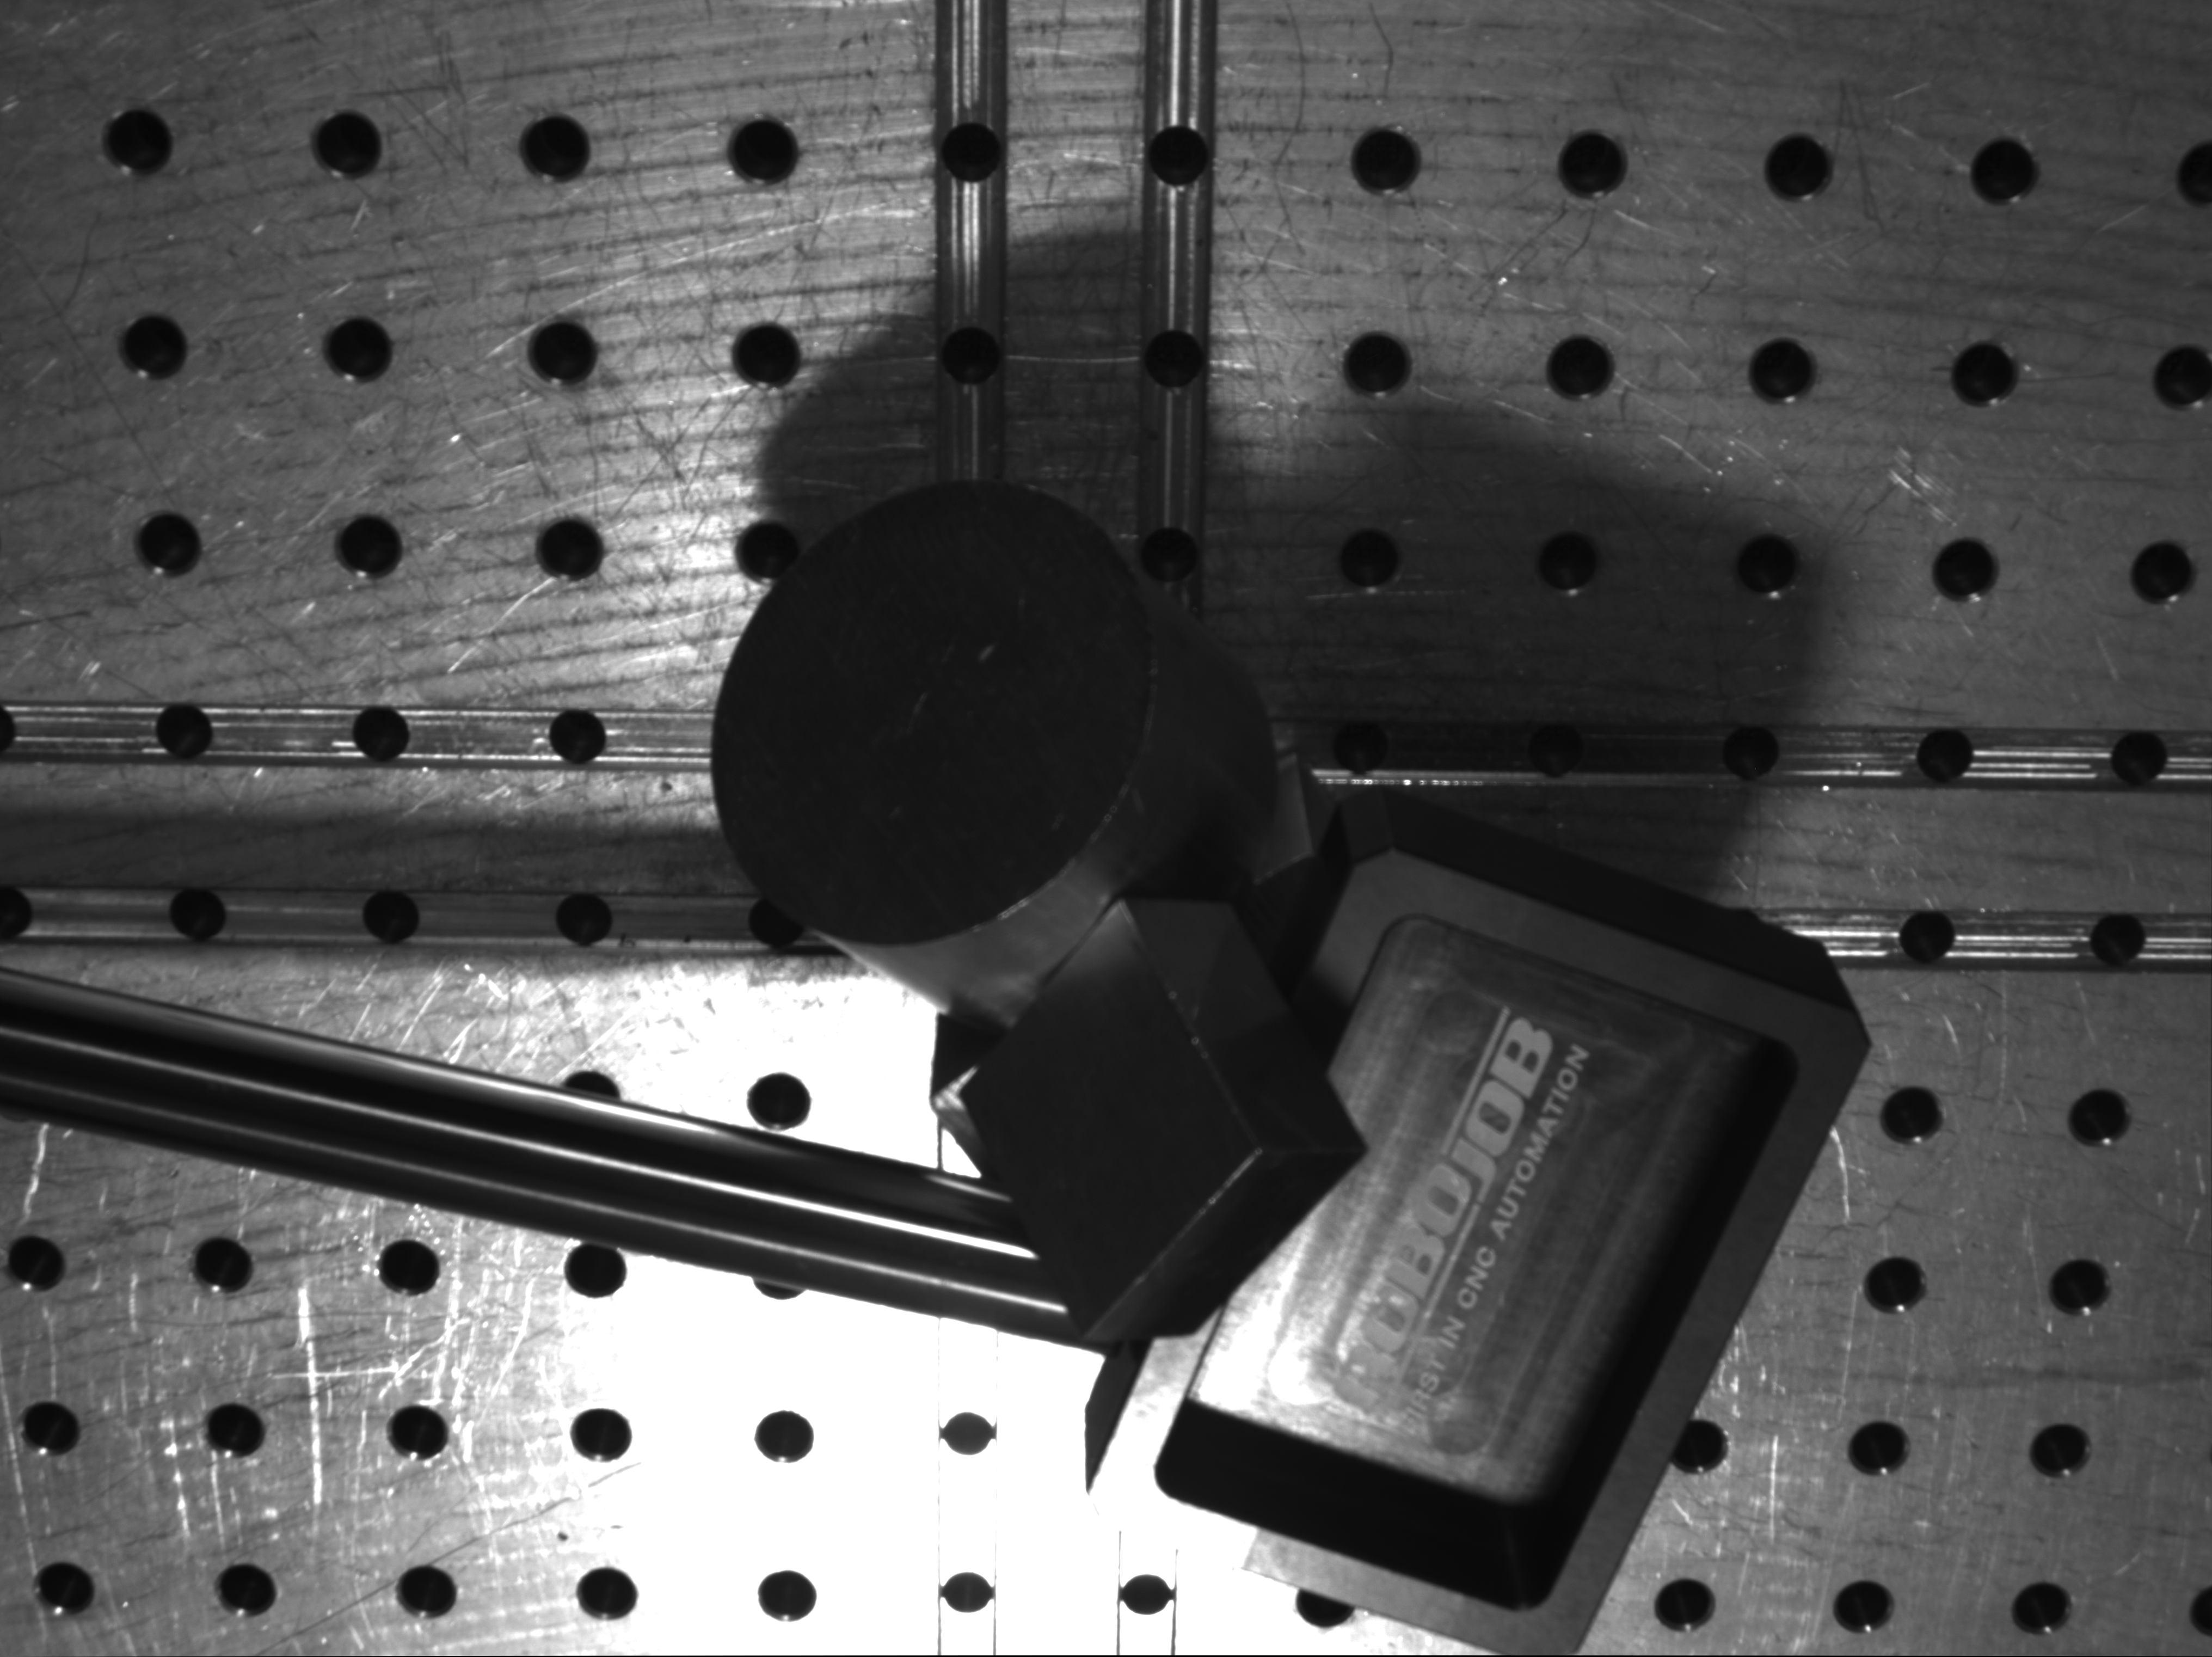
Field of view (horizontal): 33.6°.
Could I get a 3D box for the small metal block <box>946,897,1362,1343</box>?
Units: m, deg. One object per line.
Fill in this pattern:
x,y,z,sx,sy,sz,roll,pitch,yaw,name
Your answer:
0.007,0.047,0.585,0.025,0.050,0.050,4,137,-43,small metal block

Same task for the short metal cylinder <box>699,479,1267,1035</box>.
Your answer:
-0.020,-0.011,0.606,0.080,0.080,0.050,-33,150,11,short metal cylinder

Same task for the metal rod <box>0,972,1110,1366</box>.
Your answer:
-0.144,0.047,0.630,0.300,0.025,0.025,12,110,7,metal rod

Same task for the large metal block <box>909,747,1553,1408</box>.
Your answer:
0.022,0.046,0.648,0.080,0.050,0.080,-34,107,11,large metal block

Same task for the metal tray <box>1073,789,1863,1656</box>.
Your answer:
0.058,0.069,0.612,0.090,0.030,0.130,19,108,-7,metal tray
